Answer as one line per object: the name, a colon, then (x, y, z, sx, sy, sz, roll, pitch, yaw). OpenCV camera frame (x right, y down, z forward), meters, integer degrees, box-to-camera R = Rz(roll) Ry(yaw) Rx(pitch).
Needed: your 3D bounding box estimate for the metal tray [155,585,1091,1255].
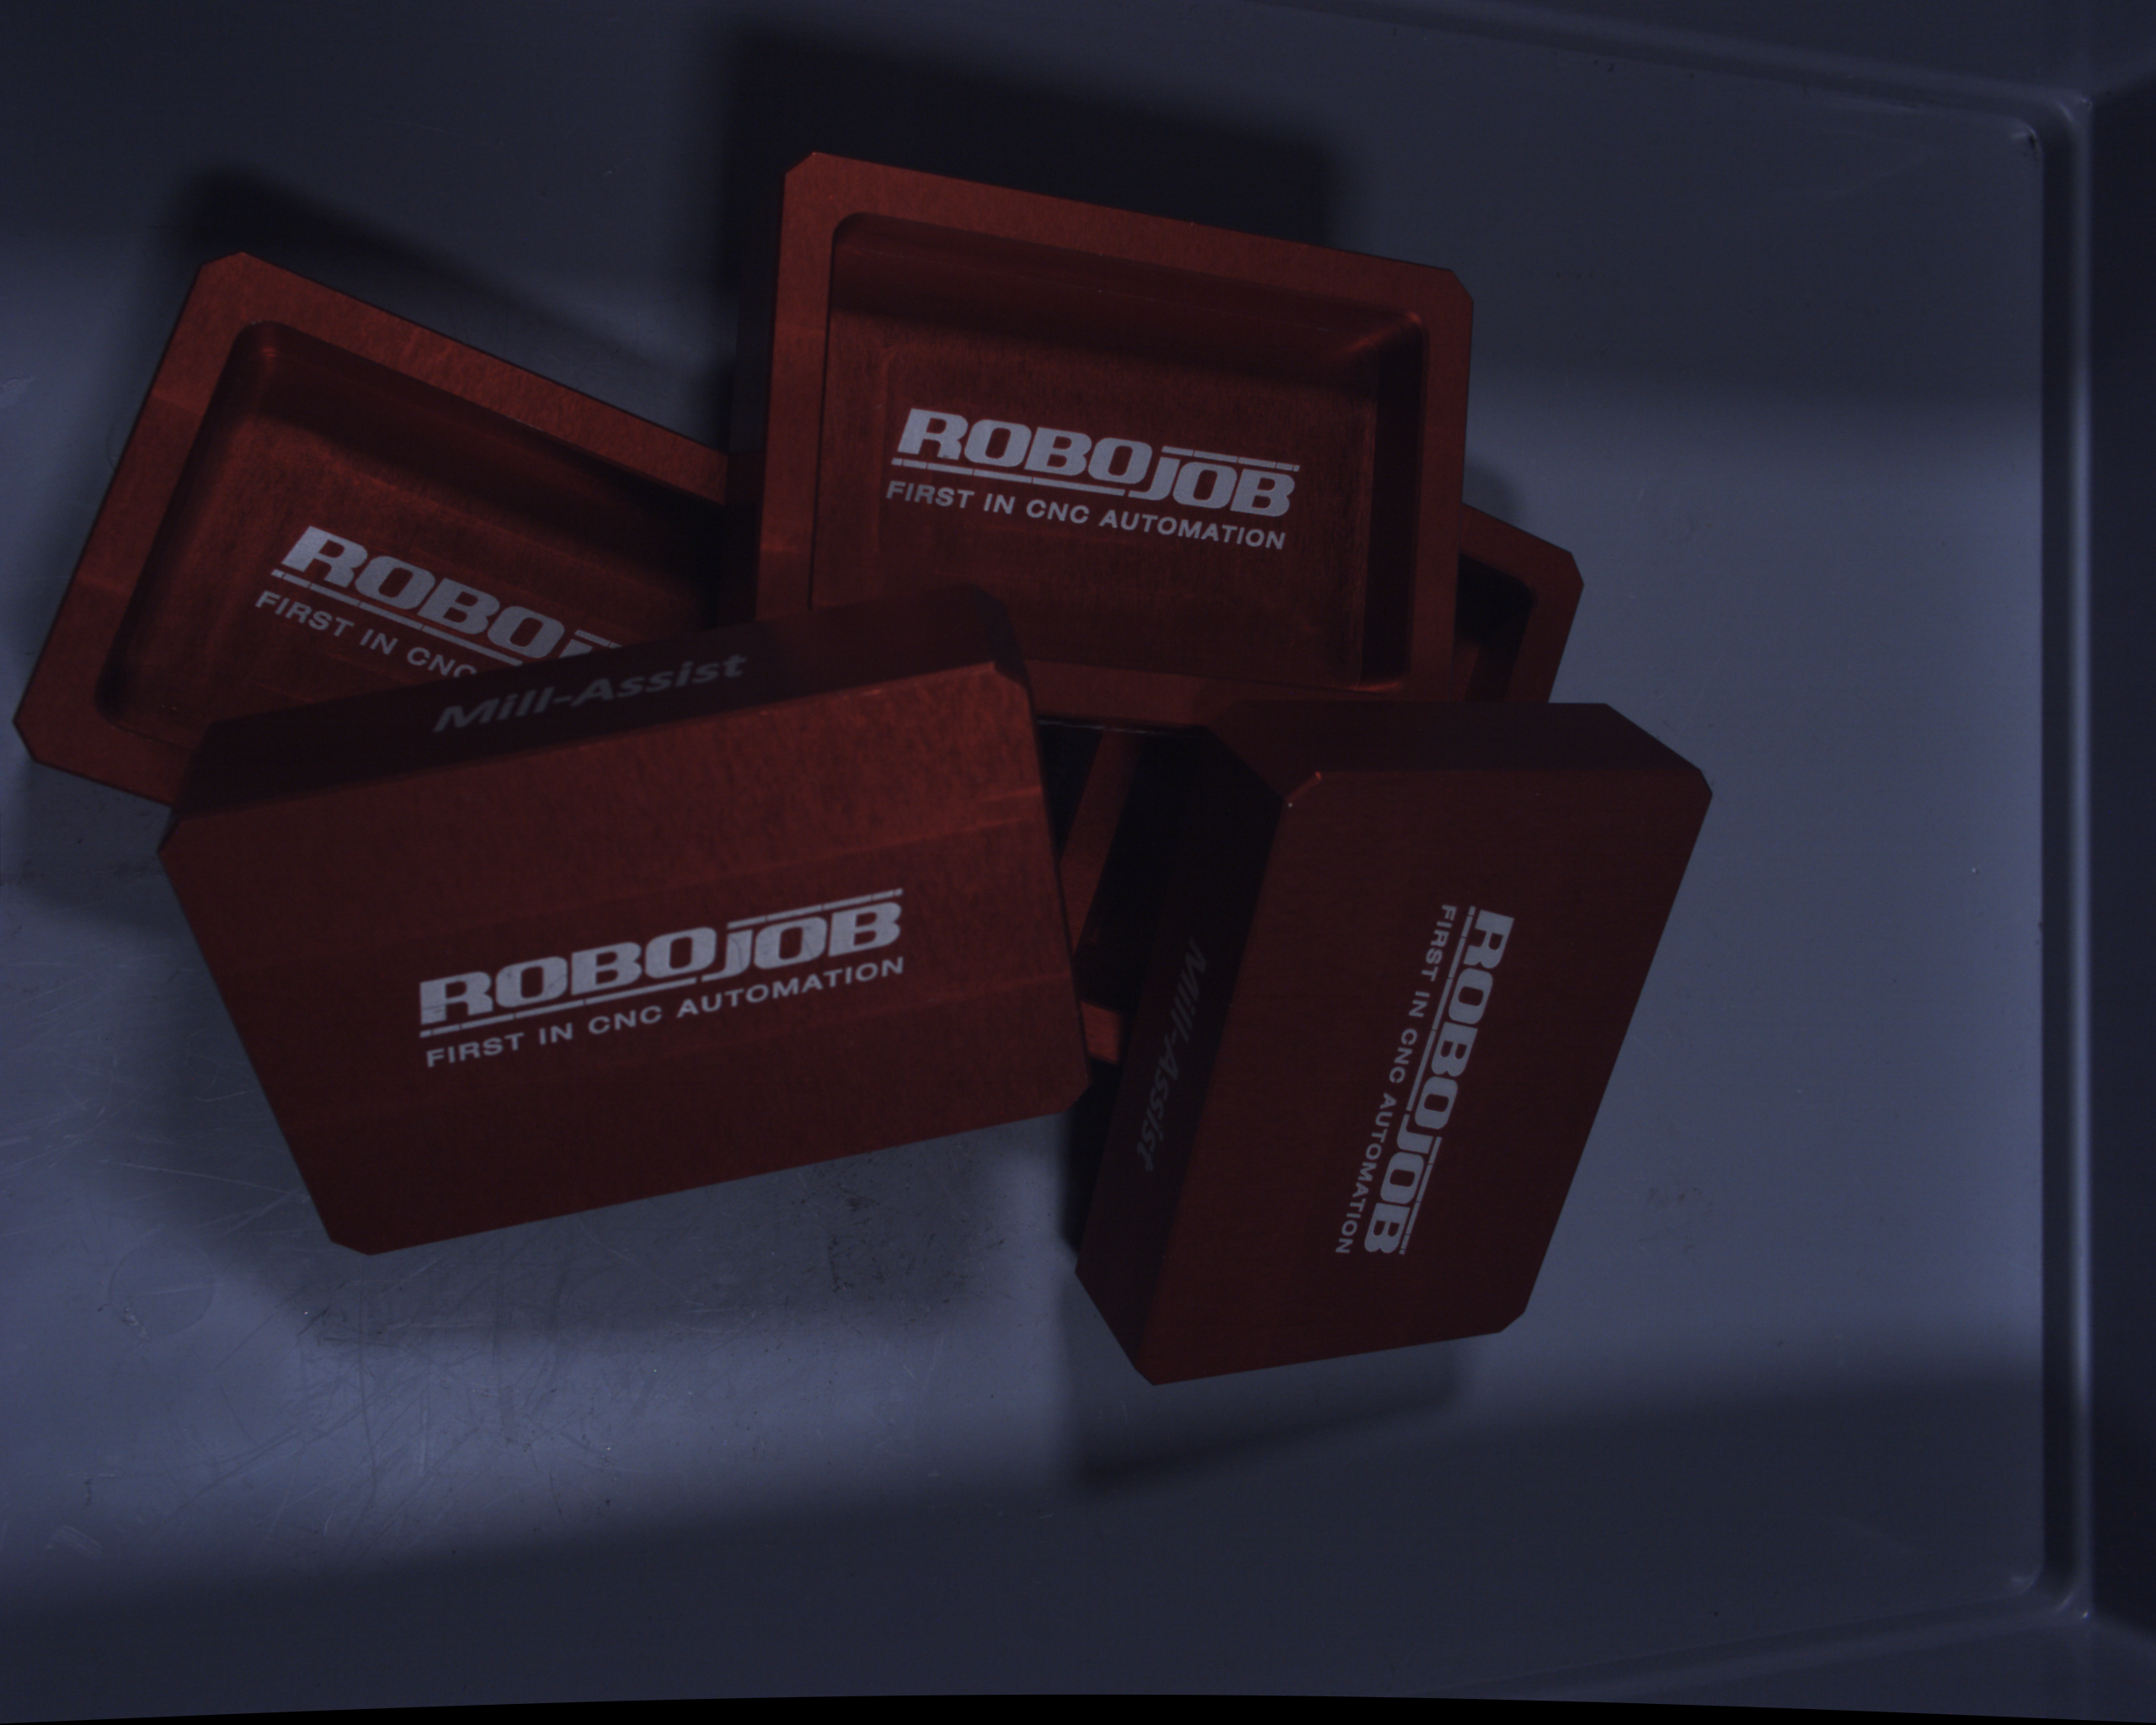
metal tray: (-0.069, 0.011, 0.345, 0.131, 0.030, 0.089, -11, 124, -5)

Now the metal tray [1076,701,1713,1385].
metal tray: (0.057, 0.034, 0.394, 0.091, 0.030, 0.129, -2, 119, -26)

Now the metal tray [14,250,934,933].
metal tray: (-0.102, -0.038, 0.367, 0.131, 0.030, 0.090, 21, 83, -19)

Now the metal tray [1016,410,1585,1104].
metal tray: (0.041, -0.016, 0.422, 0.091, 0.030, 0.129, 21, 83, -19)

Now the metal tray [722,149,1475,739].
metal tray: (0.005, -0.069, 0.377, 0.131, 0.030, 0.089, 4, 89, -20)
